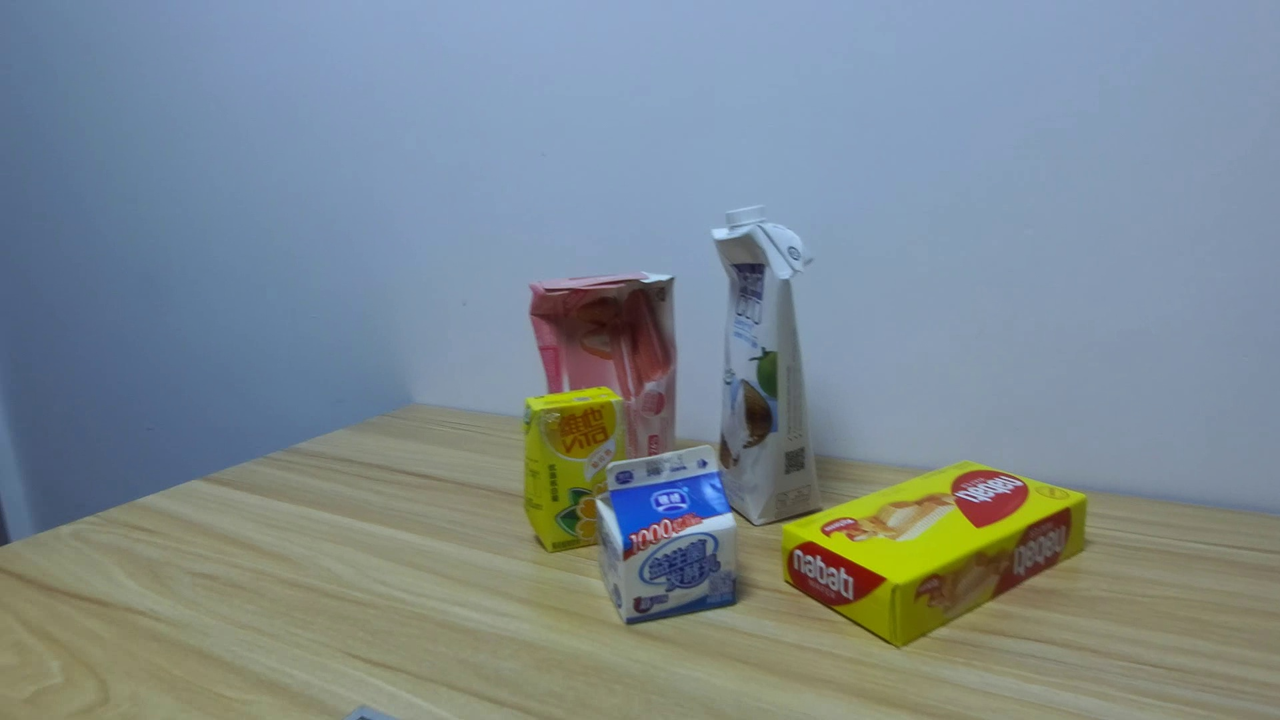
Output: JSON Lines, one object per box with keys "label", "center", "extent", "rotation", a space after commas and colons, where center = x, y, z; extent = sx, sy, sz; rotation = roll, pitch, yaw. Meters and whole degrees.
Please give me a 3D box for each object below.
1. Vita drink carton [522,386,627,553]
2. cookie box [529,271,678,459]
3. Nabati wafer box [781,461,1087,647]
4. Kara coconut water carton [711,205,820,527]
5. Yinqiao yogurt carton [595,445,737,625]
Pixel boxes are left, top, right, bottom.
{"label": "Vita drink carton", "center": [-0.049, 0.080, 0.520], "extent": [0.076, 0.109, 0.043], "rotation": [-7, 14, -19]}
{"label": "cookie box", "center": [-0.028, 0.021, 0.610], "extent": [0.119, 0.184, 0.055], "rotation": [-7, 13, -16]}
{"label": "Nabati wafer box", "center": [0.199, 0.118, 0.470], "extent": [0.204, 0.042, 0.092], "rotation": [-9, 14, -31]}
{"label": "Kara coconut water carton", "center": [0.095, 0.002, 0.550], "extent": [0.069, 0.238, 0.114], "rotation": [-9, 14, -19]}
{"label": "Yinqiao yogurt carton", "center": [0.015, 0.101, 0.445], "extent": [0.076, 0.092, 0.073], "rotation": [-7, 15, -13]}
